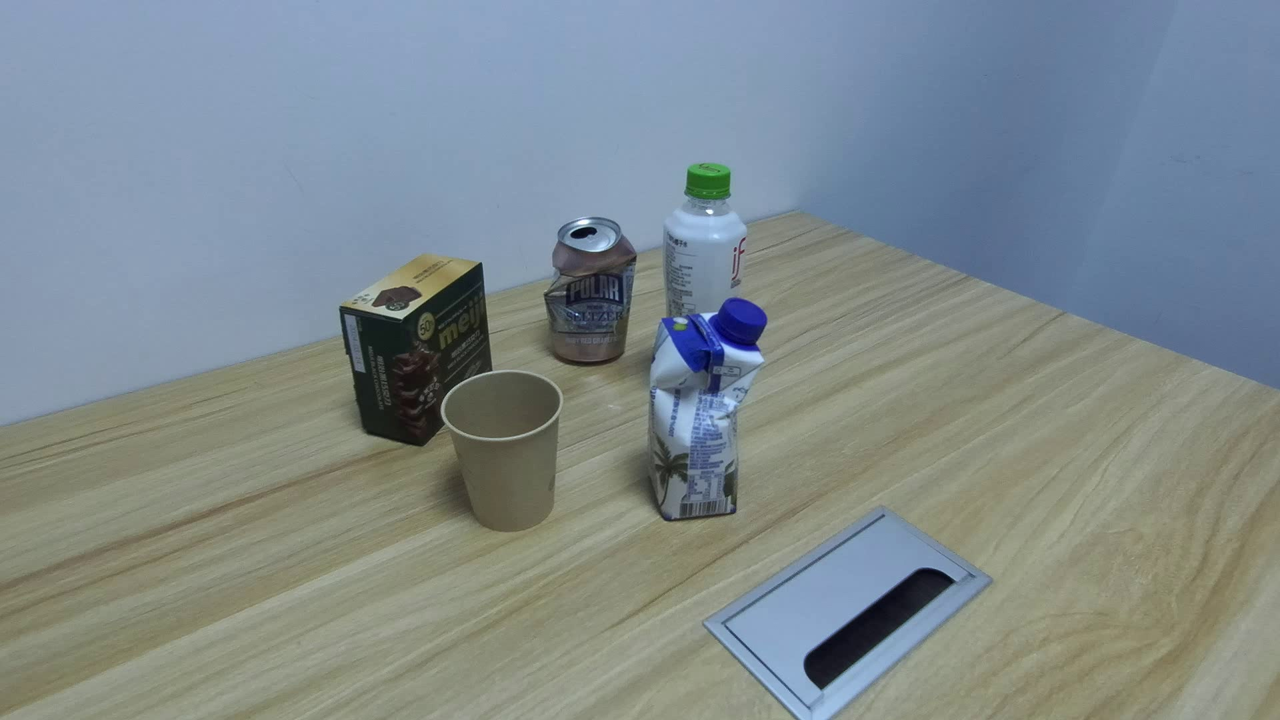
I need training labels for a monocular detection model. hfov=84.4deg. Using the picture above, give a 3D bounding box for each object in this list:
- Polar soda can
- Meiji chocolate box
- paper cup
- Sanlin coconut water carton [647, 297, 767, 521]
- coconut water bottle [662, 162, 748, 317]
[{"bbox_3d":[-0.044,-0.056,0.615,0.071,0.122,0.066,-24,40,-39],"label":"Polar soda can"},{"bbox_3d":[-0.167,-0.011,0.547,0.056,0.109,0.110,11,32,16],"label":"Meiji chocolate box"},{"bbox_3d":[-0.085,0.061,0.454,0.075,0.082,0.075,1,30,-1],"label":"paper cup"},{"bbox_3d":[0.039,0.031,0.444,0.070,0.144,0.060,-4,32,-11],"label":"Sanlin coconut water carton"},{"bbox_3d":[0.047,-0.048,0.532,0.063,0.189,0.063,1,25,0],"label":"coconut water bottle"}]
